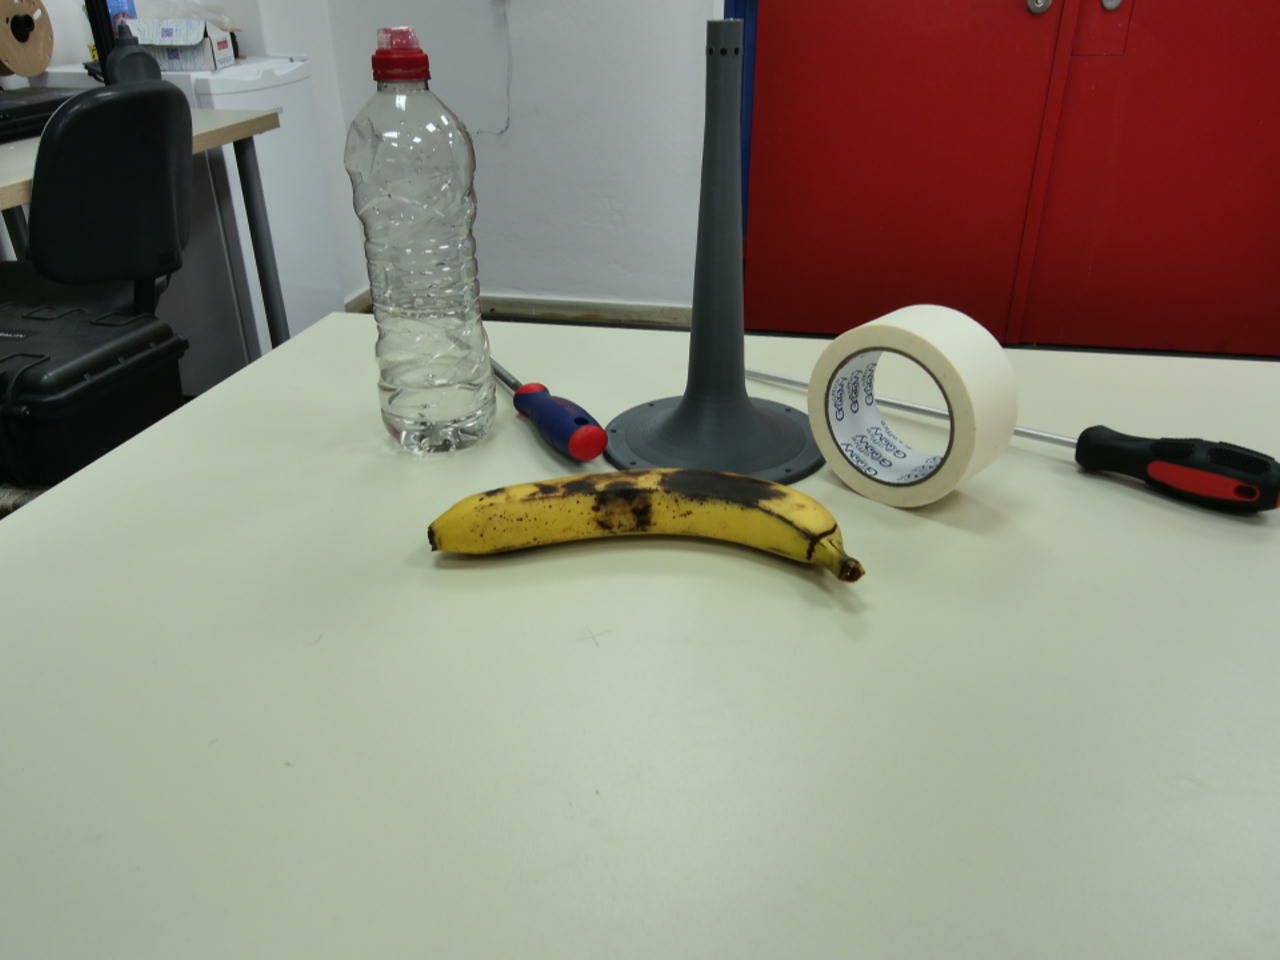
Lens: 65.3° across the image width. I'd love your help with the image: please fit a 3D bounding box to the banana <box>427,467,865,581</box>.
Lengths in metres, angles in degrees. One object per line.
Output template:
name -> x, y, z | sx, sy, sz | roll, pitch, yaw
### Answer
banana -> 0.005, 0.020, 0.529 | 0.222, 0.037, 0.084 | 5, 26, 11
